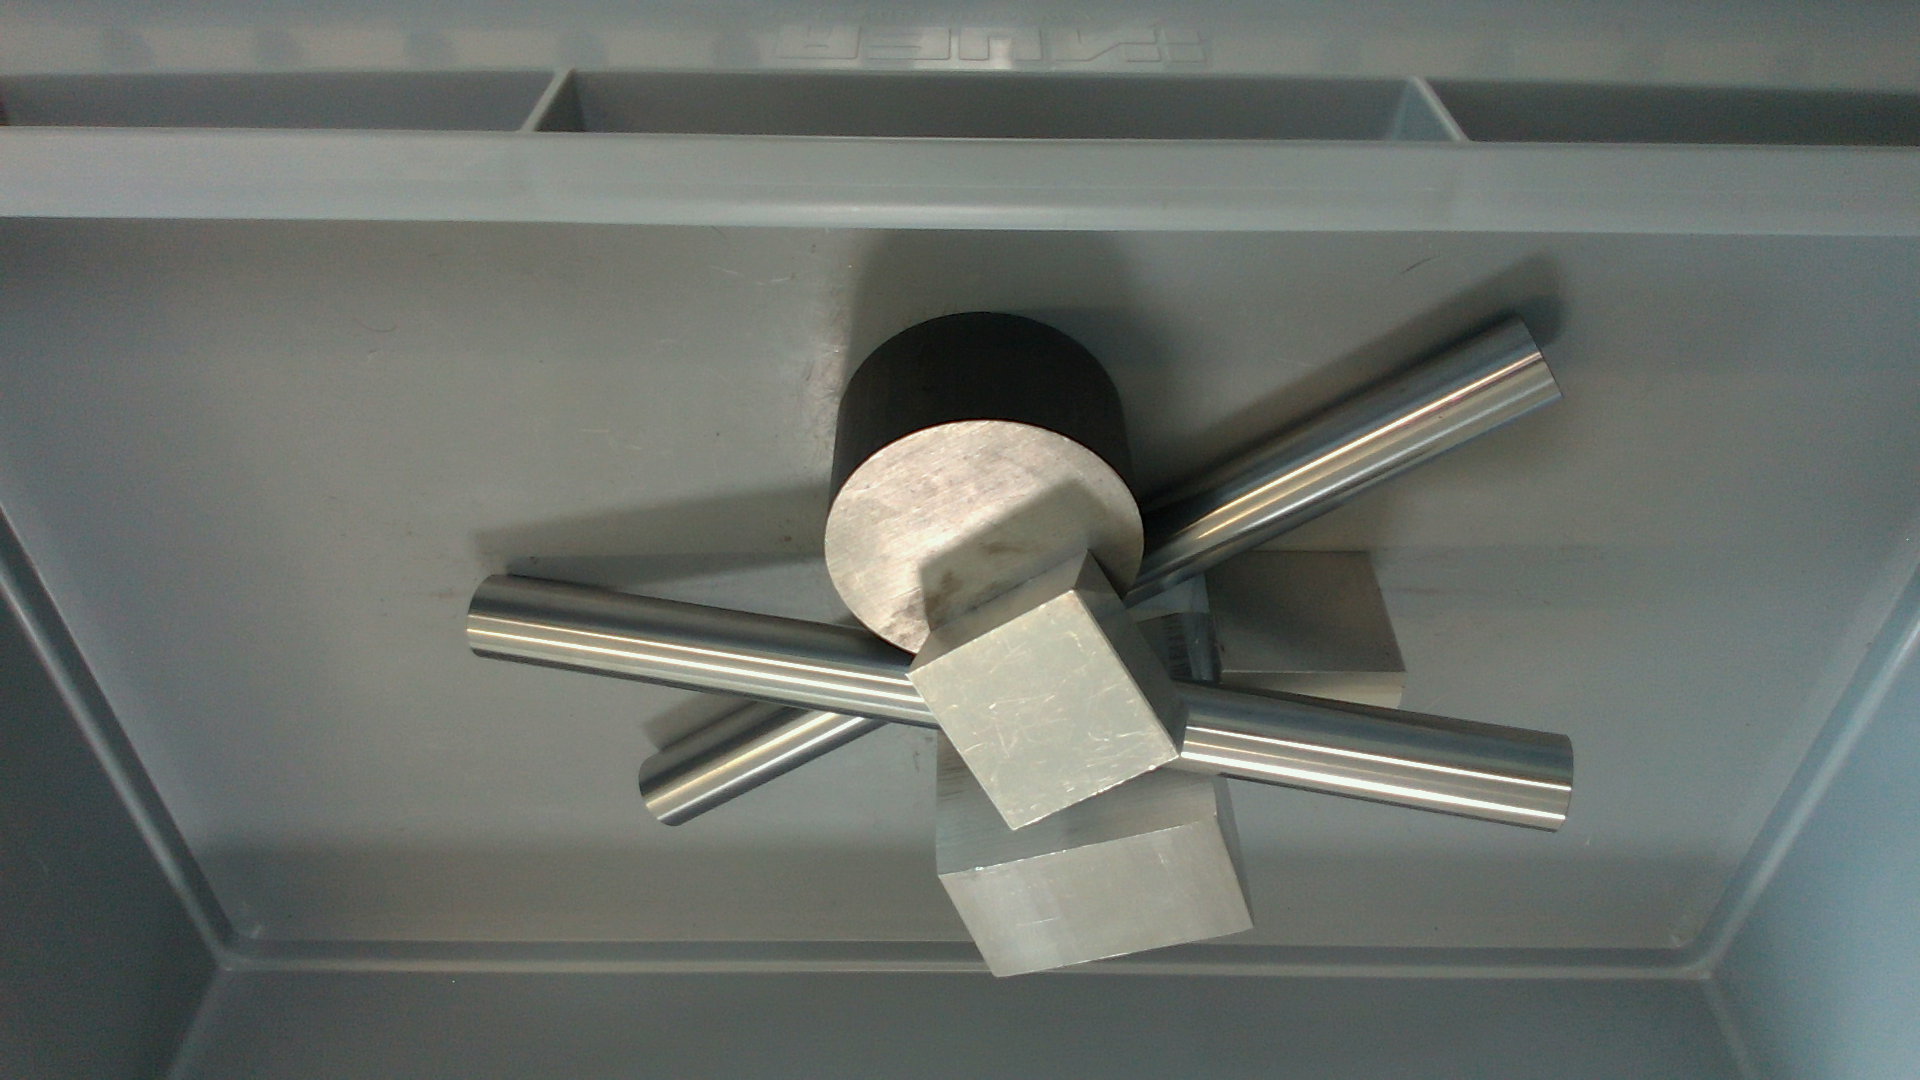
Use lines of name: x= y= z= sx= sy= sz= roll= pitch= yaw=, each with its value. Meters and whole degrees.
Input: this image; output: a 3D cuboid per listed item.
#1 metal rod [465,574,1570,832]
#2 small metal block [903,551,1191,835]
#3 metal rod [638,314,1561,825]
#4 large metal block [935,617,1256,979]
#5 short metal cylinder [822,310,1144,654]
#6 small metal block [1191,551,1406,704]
metal rod: x=0.007 y=0.042 z=0.379 sx=0.300 sy=0.025 sz=0.025 roll=8 pitch=131 yaw=11
small metal block: x=0.023 y=0.039 z=0.346 sx=0.050 sy=0.025 sz=0.050 roll=-28 pitch=102 yaw=22
metal rod: x=0.024 y=0.018 z=0.406 sx=0.299 sy=0.025 sz=0.025 roll=-28 pitch=125 yaw=21
large metal block: x=0.039 y=0.078 z=0.418 sx=0.080 sy=0.080 sz=0.050 roll=-14 pitch=129 yaw=12
short metal cylinder: x=0.006 y=-0.013 z=0.362 sx=0.080 sy=0.050 sz=0.080 roll=0 pitch=129 yaw=0
small metal block: x=0.096 y=0.029 z=0.398 sx=0.050 sy=0.050 sz=0.025 roll=1 pitch=130 yaw=1
